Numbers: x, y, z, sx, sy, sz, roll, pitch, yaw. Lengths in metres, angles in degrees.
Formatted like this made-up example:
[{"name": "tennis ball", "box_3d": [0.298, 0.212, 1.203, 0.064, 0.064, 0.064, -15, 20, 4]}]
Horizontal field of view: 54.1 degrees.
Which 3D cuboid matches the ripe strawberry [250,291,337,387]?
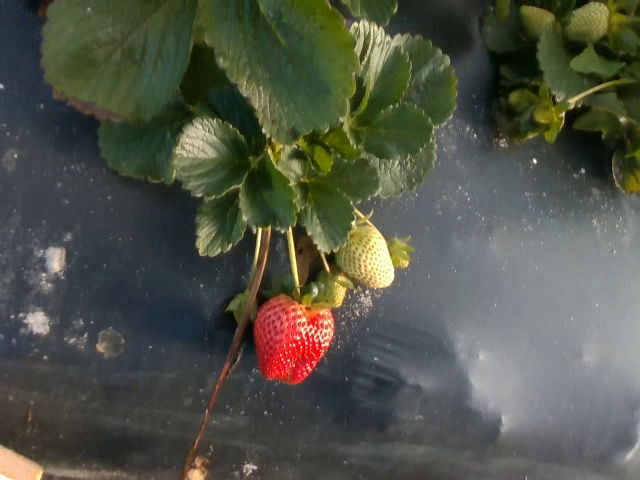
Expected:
[{"name": "ripe strawberry", "box_3d": [-0.012, 0.056, 0.332, 0.047, 0.050, 0.034, 15, 6, -18]}]
